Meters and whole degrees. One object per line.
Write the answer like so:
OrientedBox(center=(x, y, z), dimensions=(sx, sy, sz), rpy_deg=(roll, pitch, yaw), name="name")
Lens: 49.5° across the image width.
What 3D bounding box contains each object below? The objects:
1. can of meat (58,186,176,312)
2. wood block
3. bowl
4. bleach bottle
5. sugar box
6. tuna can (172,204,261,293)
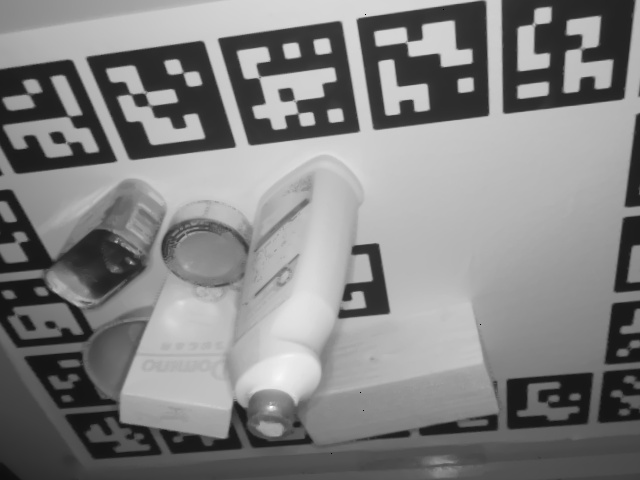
OrientedBox(center=(-0.187, 0.007, 0.656), dimensions=(0.100, 0.084, 0.058), rpy_deg=(-32, 122, 25), name="can of meat")
OrientedBox(center=(0.087, 0.155, 0.750), dimensions=(0.205, 0.091, 0.090), rpy_deg=(-13, 120, 13), name="wood block")
OrientedBox(center=(-0.175, 0.137, 0.764), dimensions=(0.162, 0.055, 0.160), rpy_deg=(-2, 126, -1), name="bowl")
OrientedBox(center=(-0.008, 0.041, 0.566), dimensions=(0.101, 0.253, 0.068), rpy_deg=(-28, 121, 21), name="bleach bottle")
OrientedBox(center=(-0.113, 0.101, 0.656), dimensions=(0.093, 0.178, 0.045), rpy_deg=(10, 125, -8), name="sugar box")
OrientedBox(center=(-0.098, 0.008, 0.676), dimensions=(0.086, 0.034, 0.085), rpy_deg=(0, 123, 2), name="tuna can")
